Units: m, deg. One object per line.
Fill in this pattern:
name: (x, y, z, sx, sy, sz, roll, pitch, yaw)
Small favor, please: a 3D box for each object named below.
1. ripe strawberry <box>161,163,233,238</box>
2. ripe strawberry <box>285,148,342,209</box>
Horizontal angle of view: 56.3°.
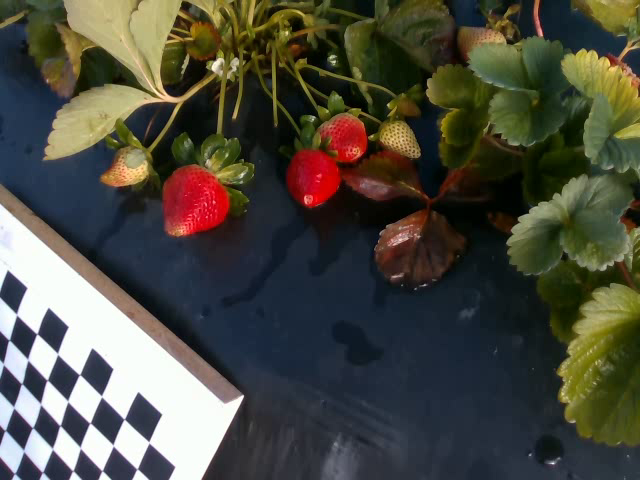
ripe strawberry: (-0.092, -0.024, 0.408, 0.050, 0.050, 0.065, -8, 34, 29)
ripe strawberry: (-0.007, -0.038, 0.409, 0.044, 0.041, 0.055, -35, 26, 25)
